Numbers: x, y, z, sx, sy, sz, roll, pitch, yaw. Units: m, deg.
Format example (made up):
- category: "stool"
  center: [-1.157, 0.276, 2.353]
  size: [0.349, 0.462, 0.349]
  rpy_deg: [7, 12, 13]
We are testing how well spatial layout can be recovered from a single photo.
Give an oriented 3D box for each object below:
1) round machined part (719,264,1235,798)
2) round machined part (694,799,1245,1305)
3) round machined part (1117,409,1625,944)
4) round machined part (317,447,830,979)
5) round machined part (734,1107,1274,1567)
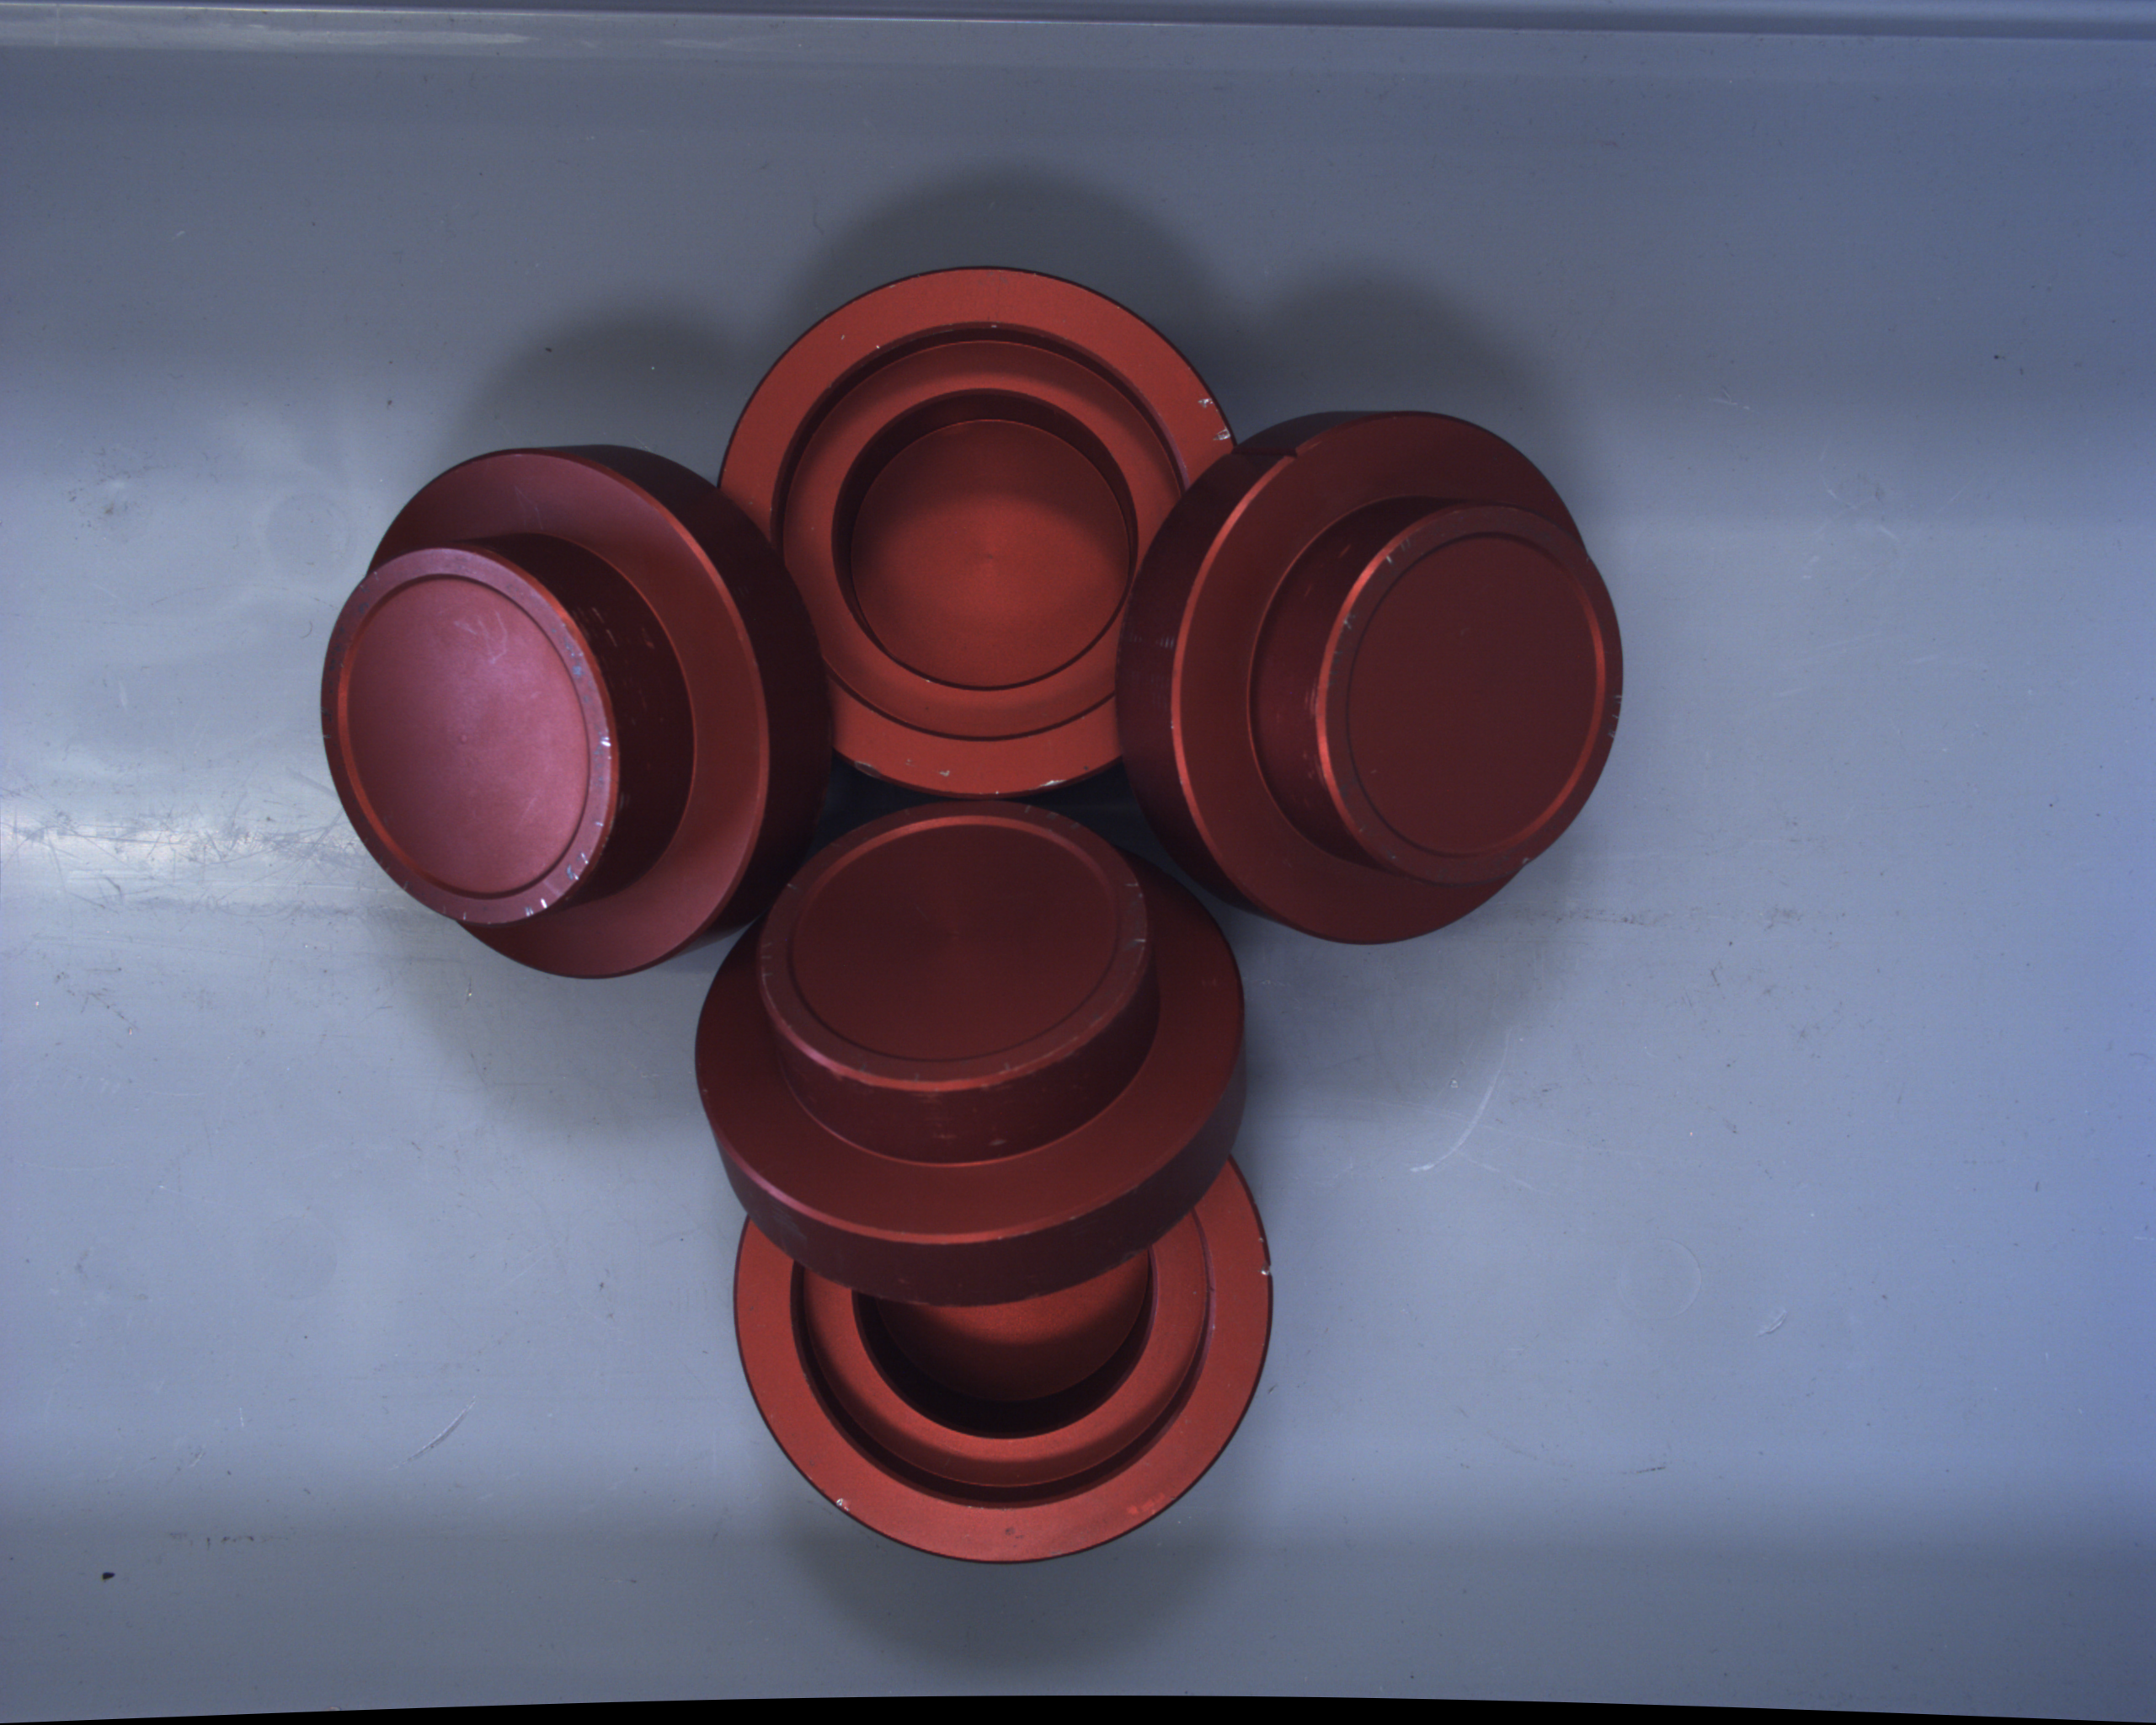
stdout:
- category: "round machined part"
  center: [-0.017, -0.061, 0.400]
  size: [0.099, 0.042, 0.097]
  rpy_deg: [0, 90, 0]
- category: "round machined part"
  center: [-0.020, 0.026, 0.372]
  size: [0.099, 0.098, 0.042]
  rpy_deg: [-6, 134, 0]
- category: "round machined part"
  center: [0.060, -0.033, 0.379]
  size: [0.099, 0.042, 0.097]
  rpy_deg: [-7, 104, -29]
- category: "round machined part"
  center: [-0.098, -0.026, 0.379]
  size: [0.098, 0.042, 0.097]
  rpy_deg: [6, 104, 26]
- category: "round machined part"
  center: [-0.013, 0.080, 0.401]
  size: [0.099, 0.042, 0.097]
  rpy_deg: [0, 90, 0]
